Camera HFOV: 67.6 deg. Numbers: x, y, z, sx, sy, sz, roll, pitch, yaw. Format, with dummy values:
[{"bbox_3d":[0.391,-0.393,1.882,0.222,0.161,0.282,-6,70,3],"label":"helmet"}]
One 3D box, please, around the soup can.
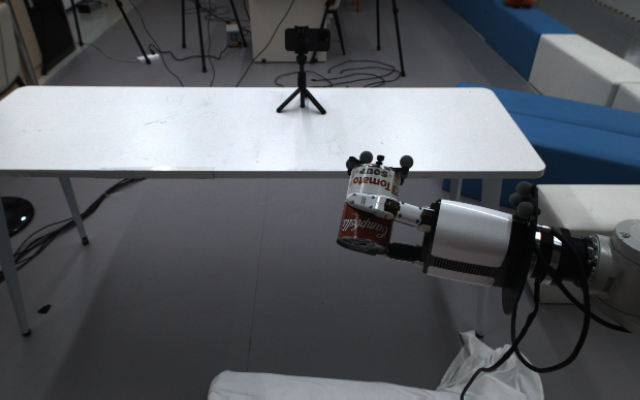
[{"bbox_3d":[0.065,0.011,0.624,0.067,0.067,0.101,9,72,10],"label":"soup can"}]
